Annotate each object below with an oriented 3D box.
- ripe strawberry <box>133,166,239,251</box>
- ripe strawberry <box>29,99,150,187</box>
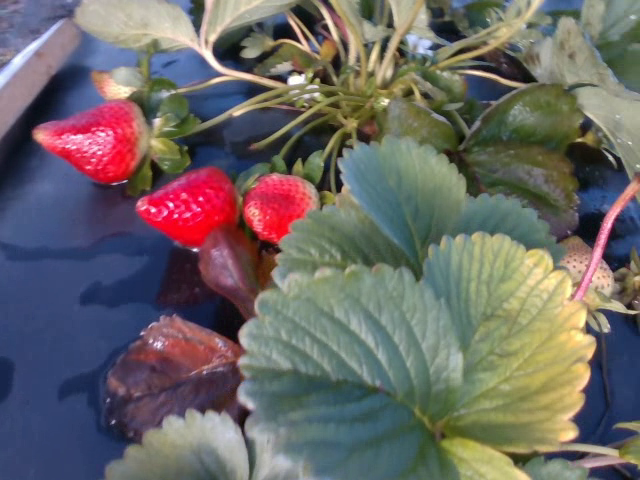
[{"bbox_3d":[-0.066,-0.016,0.290,0.055,0.042,0.044,-1,-3,-44],"label":"ripe strawberry"},{"bbox_3d":[-0.127,-0.060,0.332,0.065,0.050,0.050,6,11,-30],"label":"ripe strawberry"}]
